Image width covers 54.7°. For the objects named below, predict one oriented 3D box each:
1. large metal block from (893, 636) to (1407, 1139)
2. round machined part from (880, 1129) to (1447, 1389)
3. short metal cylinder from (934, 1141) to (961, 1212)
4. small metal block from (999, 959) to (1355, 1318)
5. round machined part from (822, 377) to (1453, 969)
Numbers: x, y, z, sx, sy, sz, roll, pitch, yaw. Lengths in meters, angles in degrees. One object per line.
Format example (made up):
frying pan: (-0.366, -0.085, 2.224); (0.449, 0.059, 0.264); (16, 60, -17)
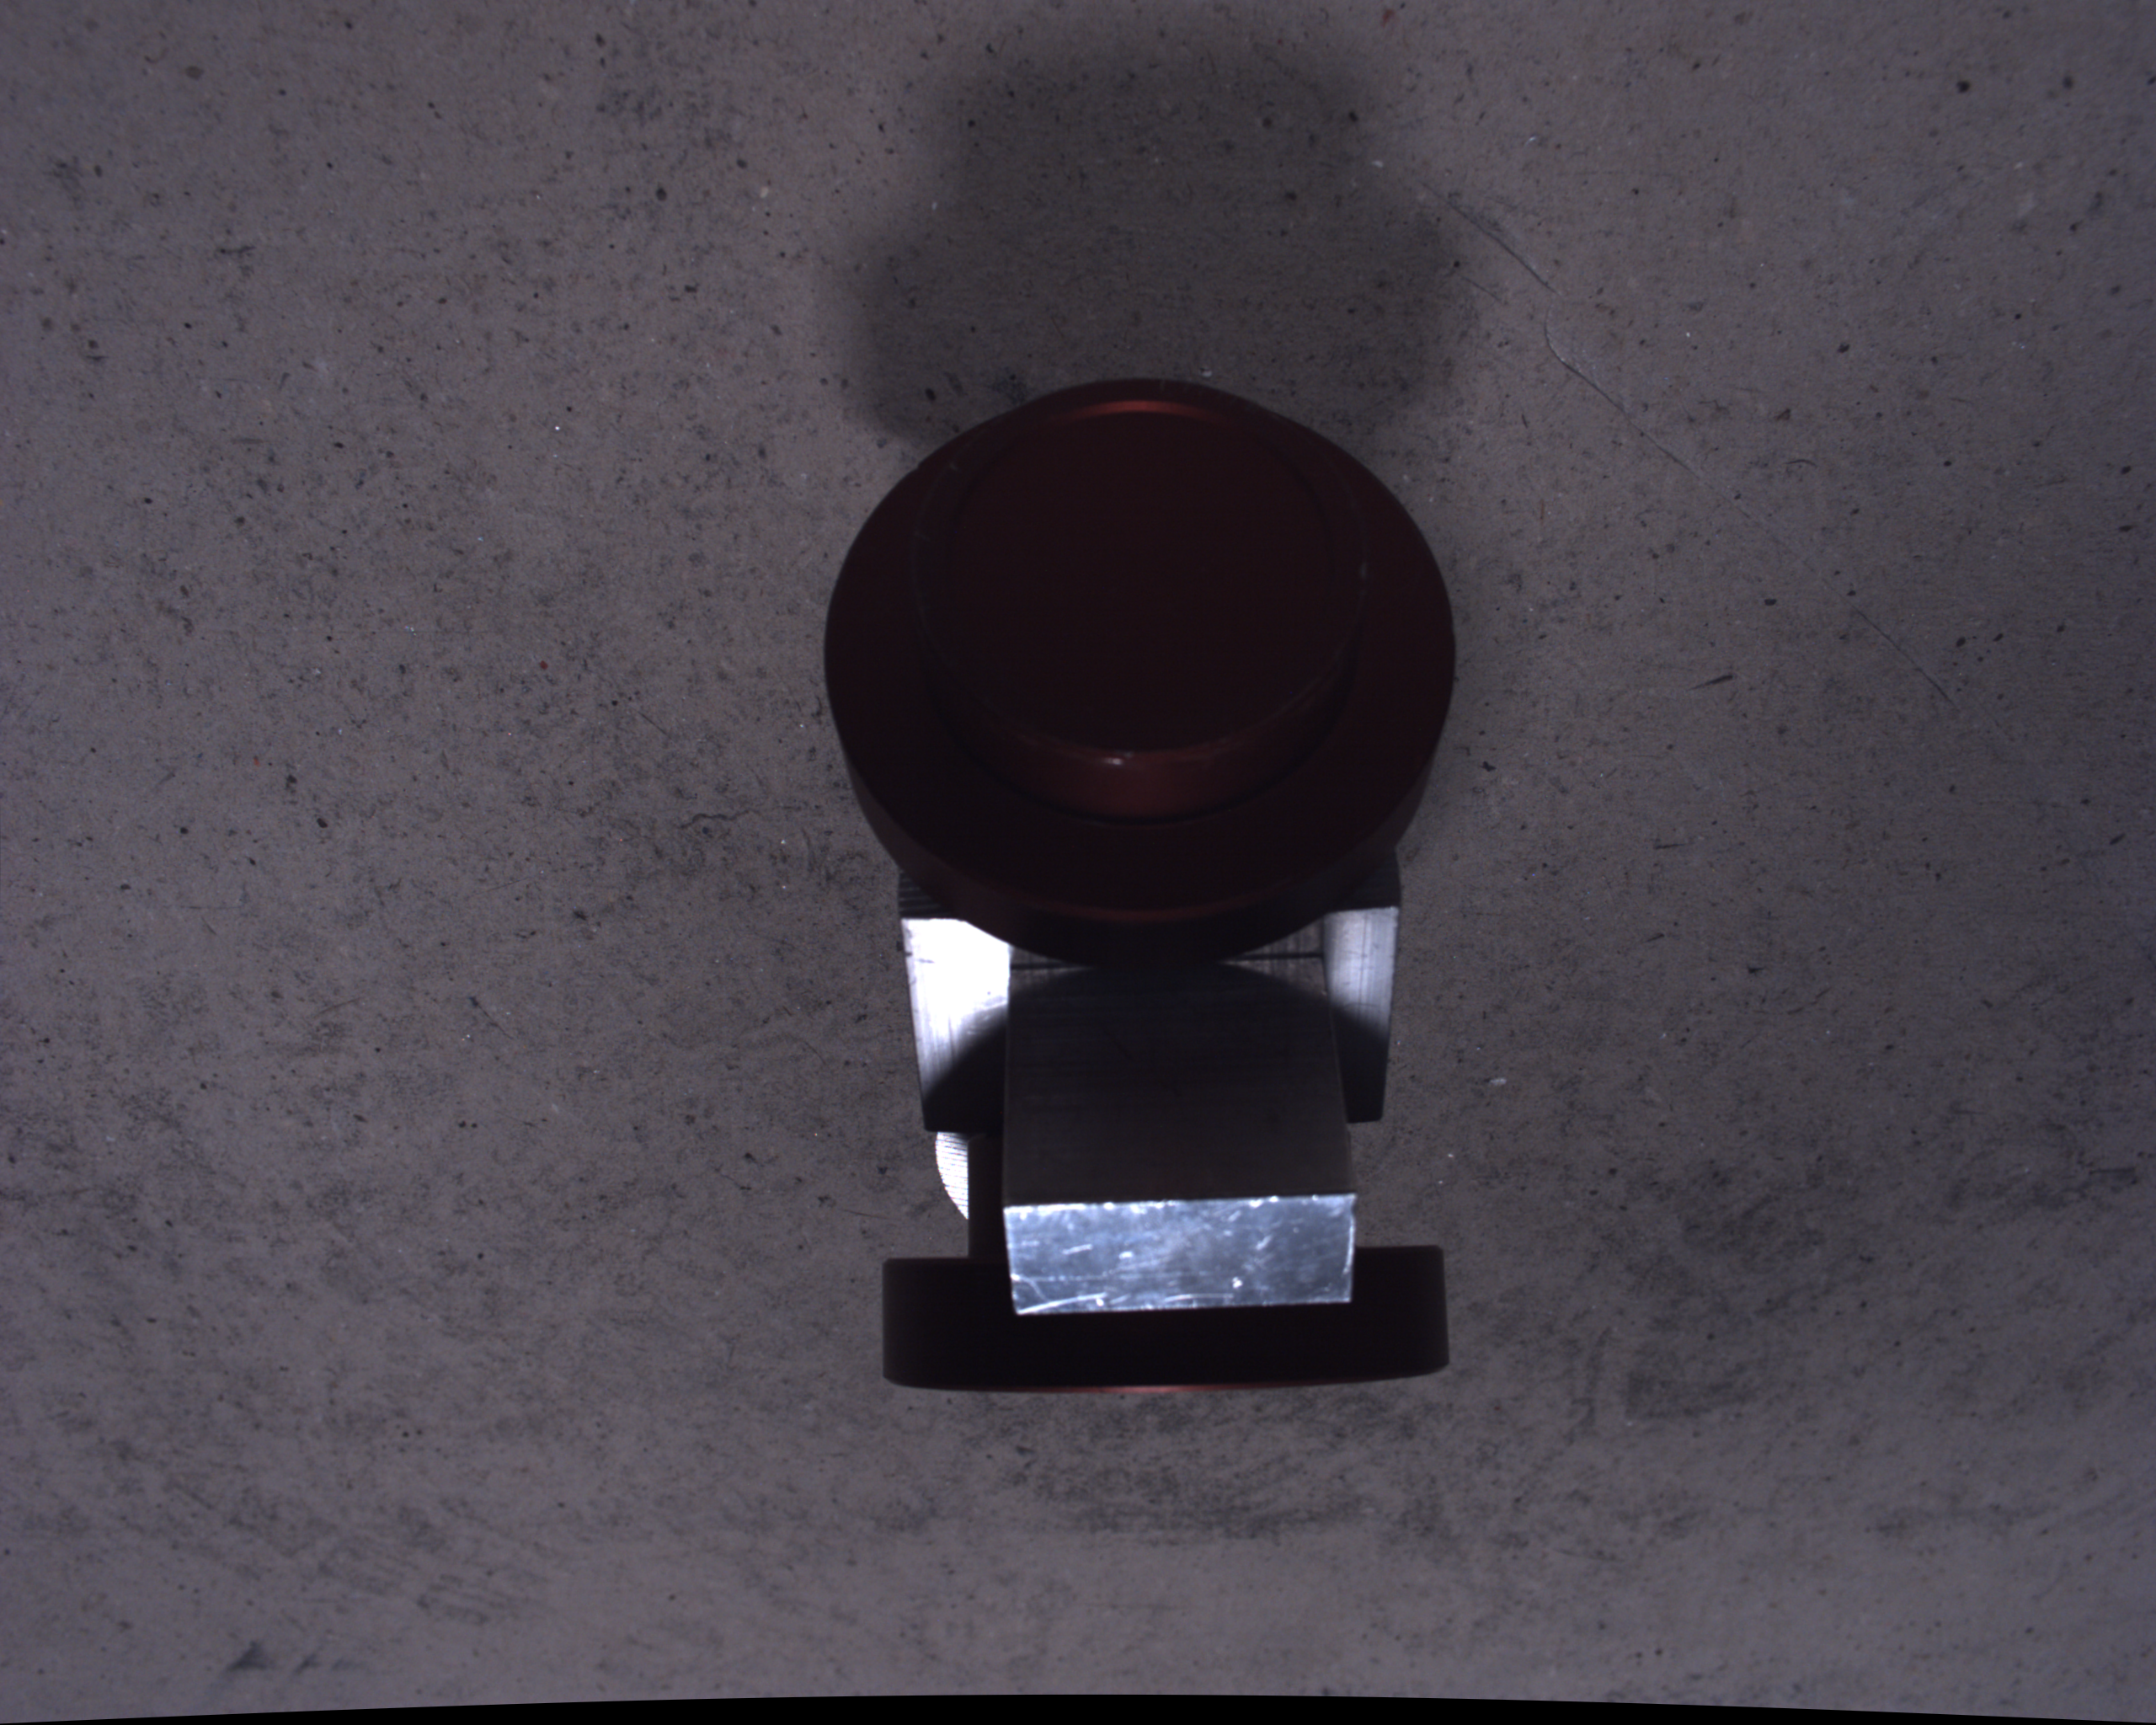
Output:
large metal block: (0.012, 0.002, 0.373); (0.081, 0.080, 0.050); (-2, 130, 1)
round machined part: (0.014, 0.069, 0.370); (0.099, 0.042, 0.098); (-1, 169, 0)
short metal cylinder: (0.012, 0.041, 0.428); (0.081, 0.050, 0.079); (0, 130, 0)
small metal block: (0.014, 0.042, 0.322); (0.050, 0.050, 0.025); (-2, 130, 1)
round machined part: (0.009, -0.036, 0.325); (0.099, 0.098, 0.042); (-2, 155, 1)
